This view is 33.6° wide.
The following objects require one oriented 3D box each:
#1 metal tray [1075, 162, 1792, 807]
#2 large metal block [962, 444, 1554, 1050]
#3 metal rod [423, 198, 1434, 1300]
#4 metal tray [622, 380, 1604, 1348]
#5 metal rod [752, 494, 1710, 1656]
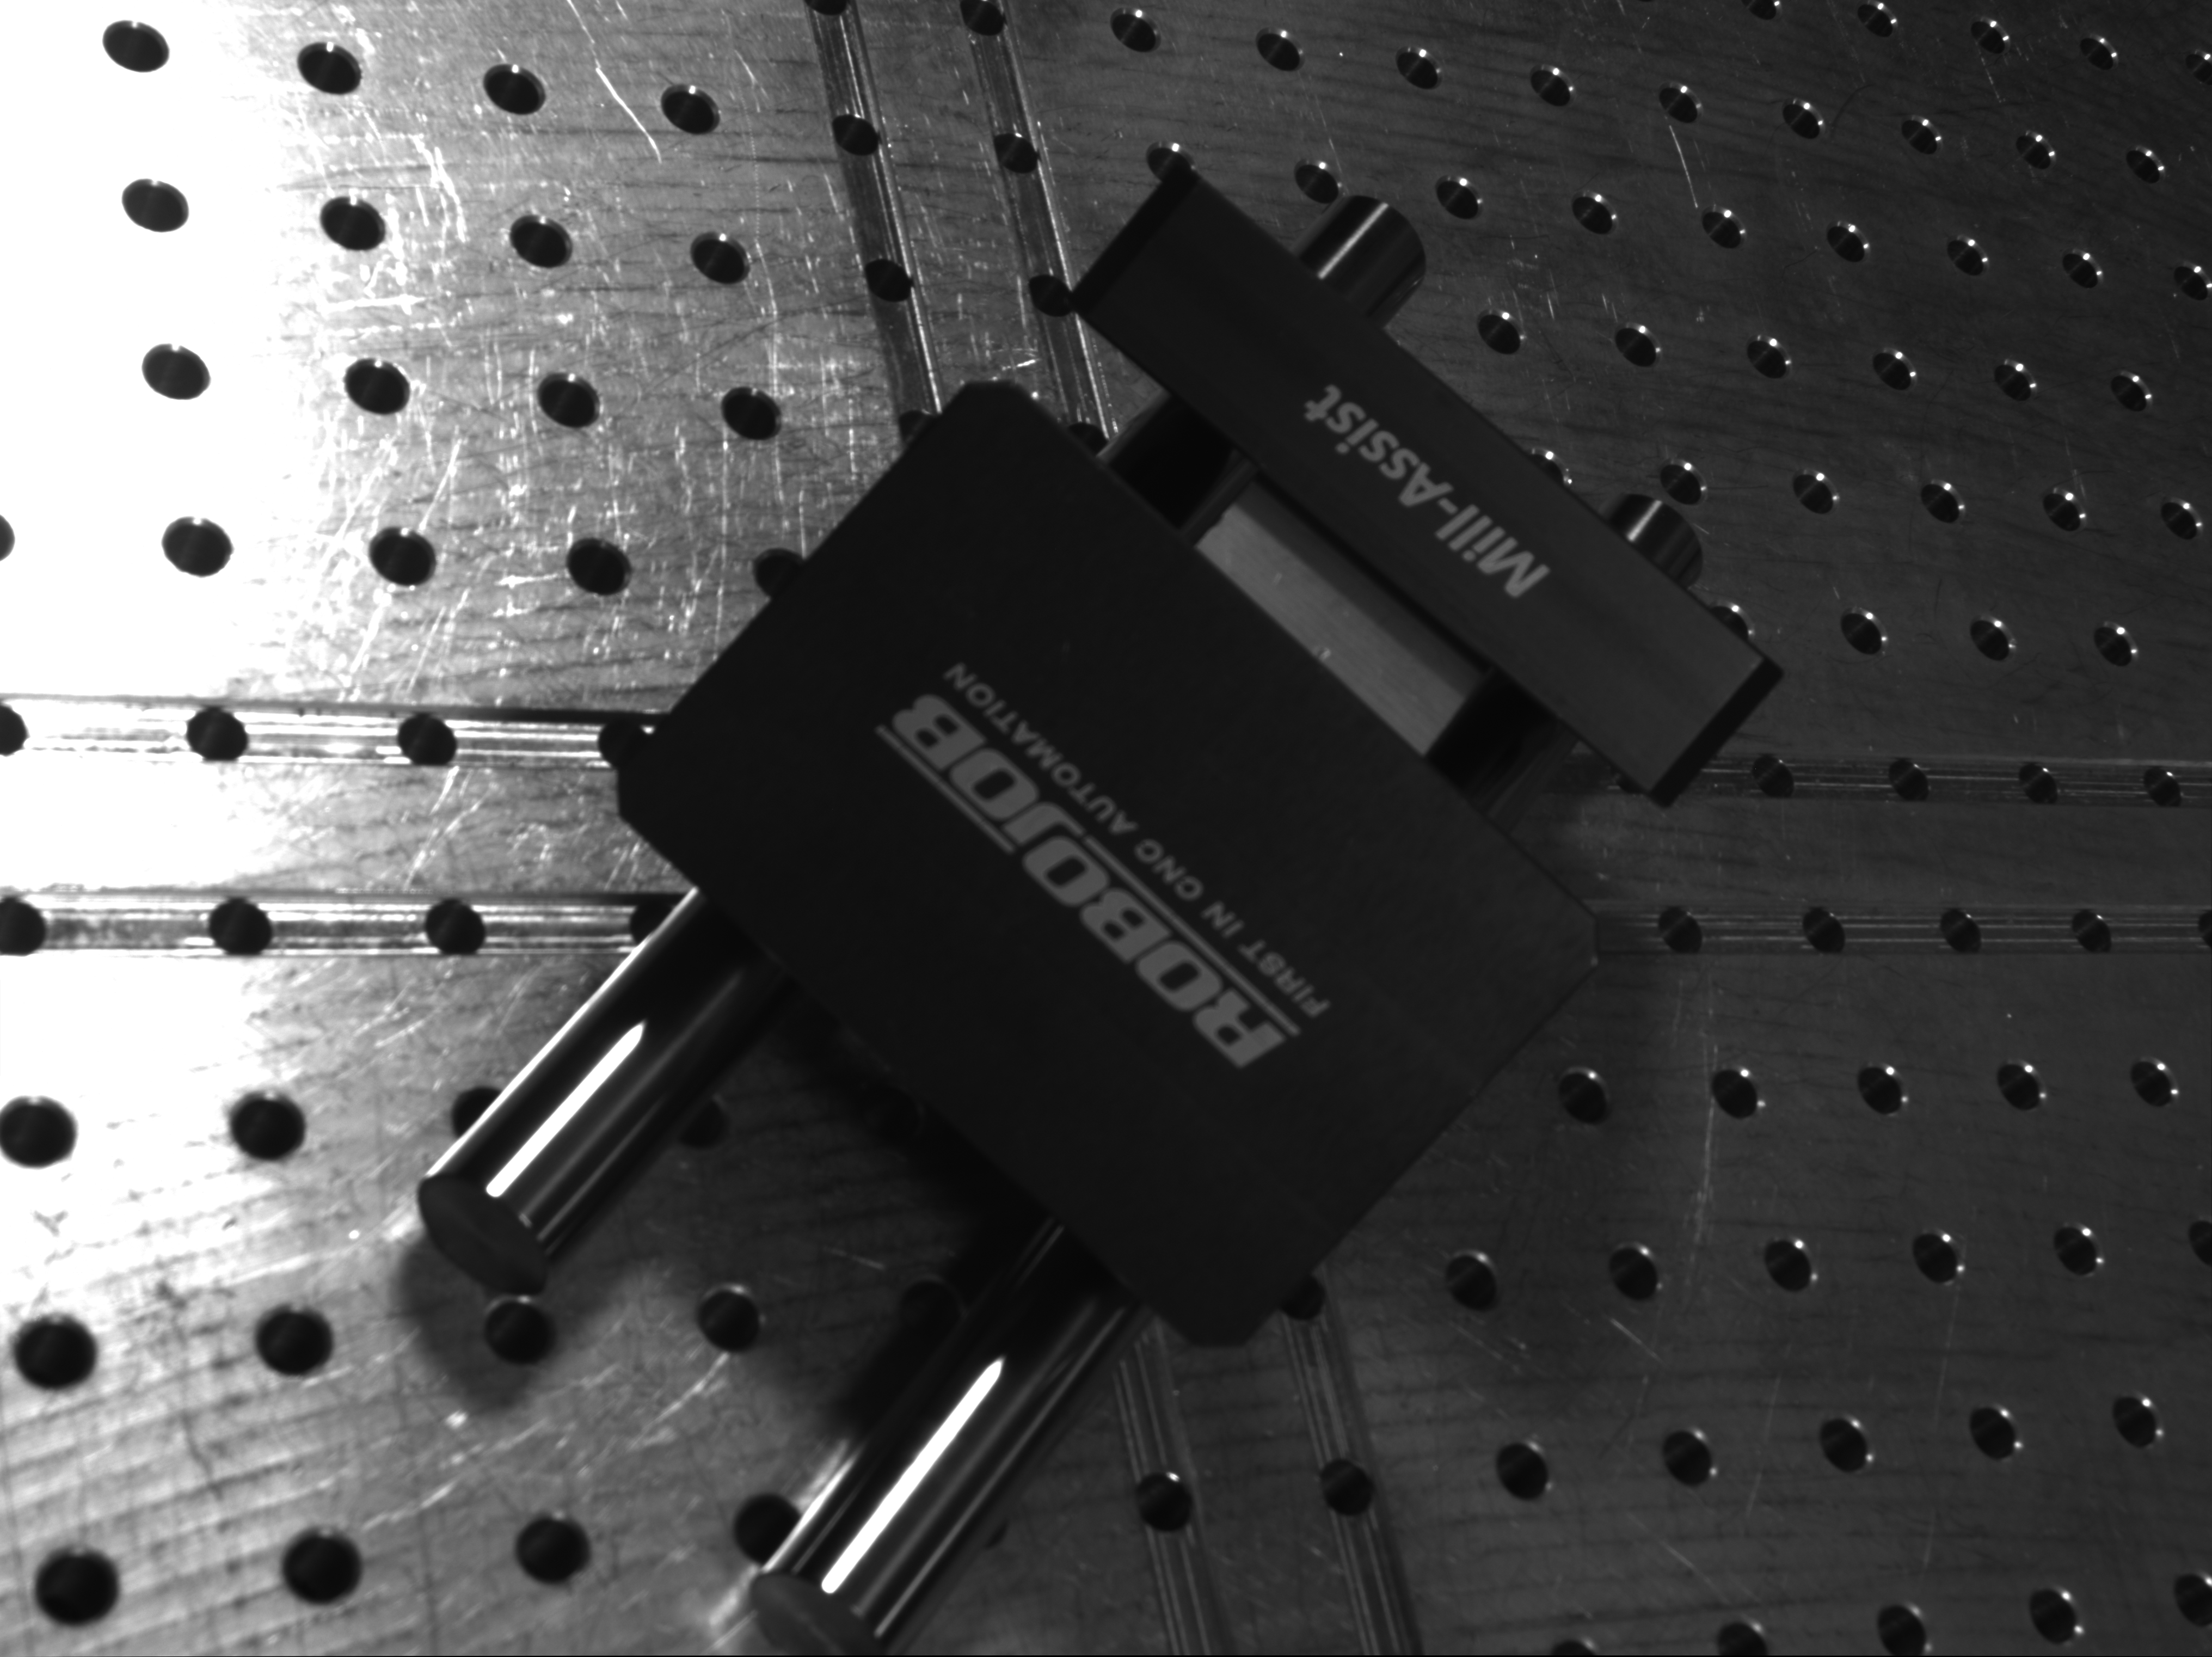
[{"bbox_3d":[0.056,-0.060,0.640,0.130,0.030,0.090,40,7,-1],"label":"metal tray"},{"bbox_3d":[0.023,-0.017,0.630,0.050,0.080,0.080,41,51,0],"label":"large metal block"},{"bbox_3d":[-0.019,-0.027,0.650,0.025,0.025,0.300,40,51,-1],"label":"metal rod"},{"bbox_3d":[0.002,0.005,0.571,0.130,0.030,0.090,43,94,1],"label":"metal tray"},{"bbox_3d":[0.034,0.031,0.642,0.025,0.025,0.300,41,51,0],"label":"metal rod"}]
